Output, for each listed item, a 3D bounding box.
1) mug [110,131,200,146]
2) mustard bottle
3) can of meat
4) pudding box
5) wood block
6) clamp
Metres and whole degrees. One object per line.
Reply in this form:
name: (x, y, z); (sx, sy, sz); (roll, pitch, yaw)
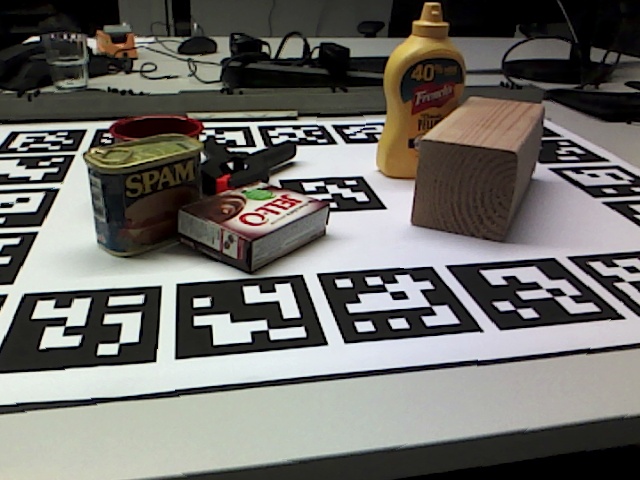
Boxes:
mug: (-0.167, -0.067, 0.662); (0.093, 0.081, 0.117); (7, 30, 8)
mustard bottle: (0.117, -0.173, 0.718); (0.096, 0.191, 0.059); (-7, 30, -15)
can of meat: (-0.155, -0.040, 0.553); (0.101, 0.083, 0.058); (-22, 37, -38)
pudding box: (-0.056, -0.012, 0.566); (0.090, 0.038, 0.113); (22, 32, 32)
wood block: (0.176, -0.078, 0.662); (0.090, 0.091, 0.205); (13, 28, 22)
clamp: (-0.095, -0.086, 0.714); (0.122, 0.036, 0.165); (7, 30, 5)
